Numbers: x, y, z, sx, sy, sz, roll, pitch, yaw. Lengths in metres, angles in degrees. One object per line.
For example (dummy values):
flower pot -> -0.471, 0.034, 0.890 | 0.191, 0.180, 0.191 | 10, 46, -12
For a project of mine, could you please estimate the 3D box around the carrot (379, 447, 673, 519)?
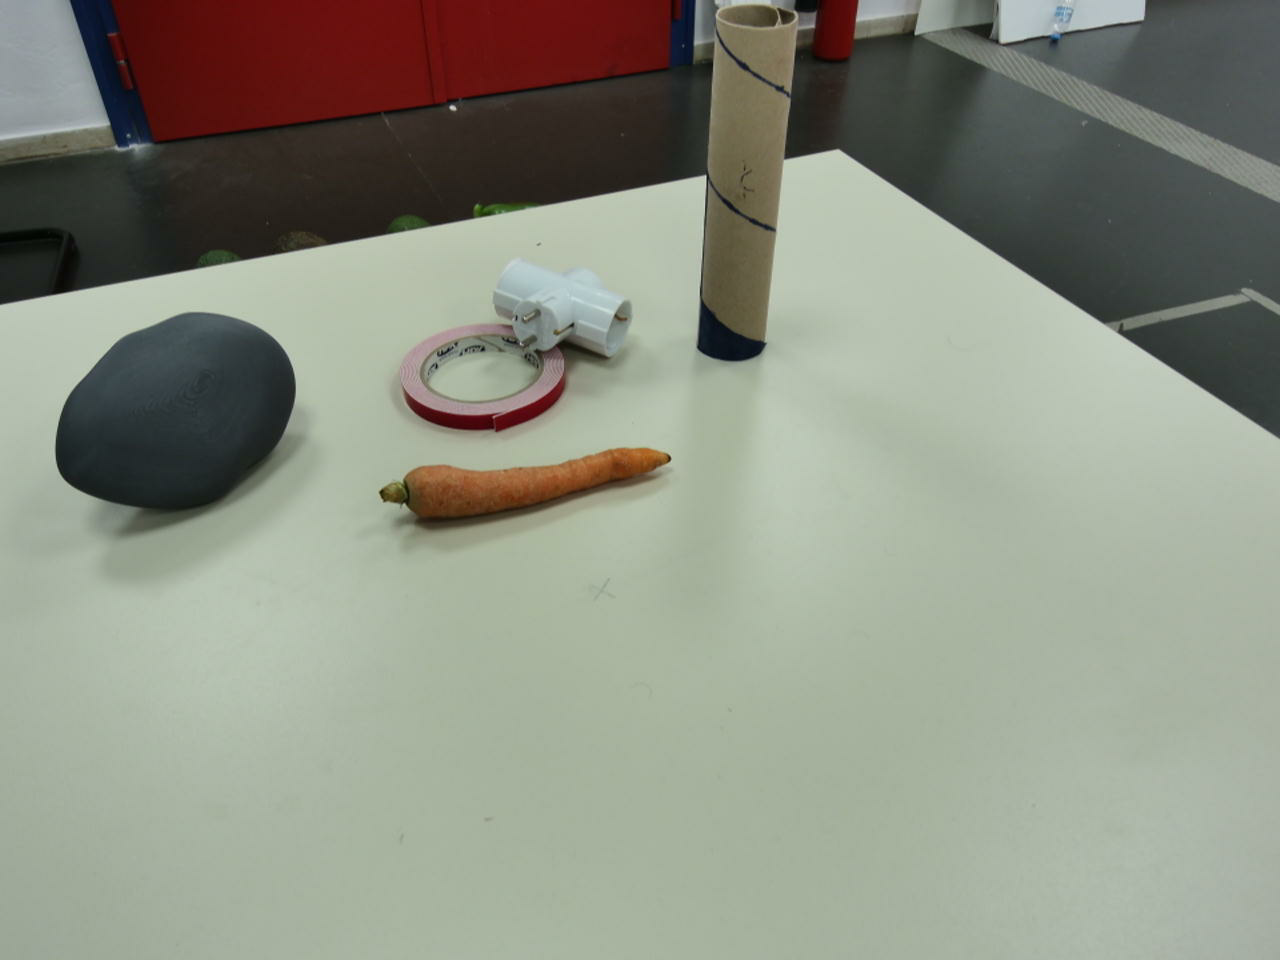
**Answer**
carrot -> -0.060, -0.002, 0.573 | 0.173, 0.032, 0.030 | -9, 40, -12
